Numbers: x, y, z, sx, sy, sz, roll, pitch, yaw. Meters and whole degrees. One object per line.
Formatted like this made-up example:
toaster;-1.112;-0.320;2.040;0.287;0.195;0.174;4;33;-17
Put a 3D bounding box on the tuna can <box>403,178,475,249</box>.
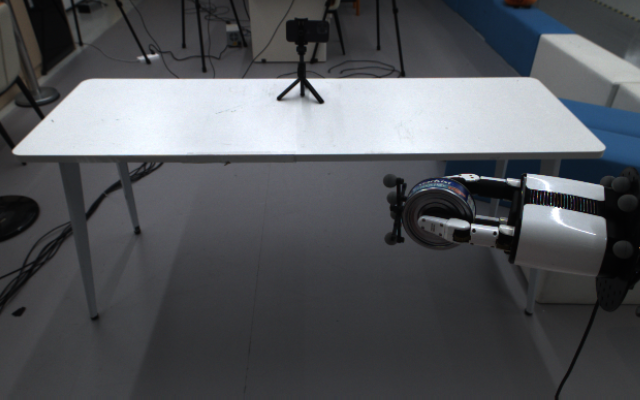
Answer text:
tuna can;0.146;0.014;0.587;0.085;0.085;0.034;13;27;15
